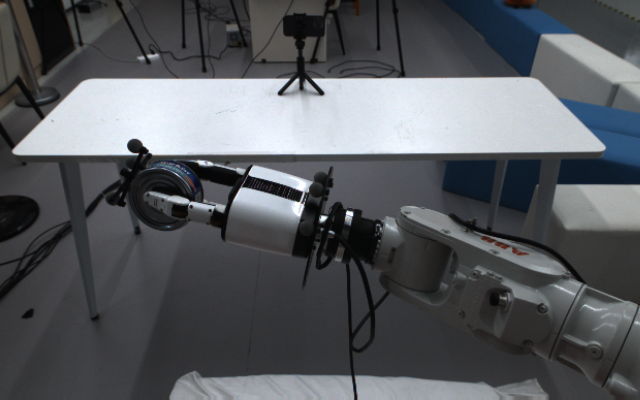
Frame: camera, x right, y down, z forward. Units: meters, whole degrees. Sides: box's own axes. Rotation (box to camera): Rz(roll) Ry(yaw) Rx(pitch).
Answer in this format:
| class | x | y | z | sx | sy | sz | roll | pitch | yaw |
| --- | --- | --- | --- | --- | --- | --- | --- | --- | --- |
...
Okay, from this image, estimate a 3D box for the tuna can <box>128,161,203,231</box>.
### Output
| class | x | y | z | sx | sy | sz | roll | pitch | yaw |
| --- | --- | --- | --- | --- | --- | --- | --- | --- | --- |
| tuna can | -0.190 | -0.005 | 0.606 | 0.085 | 0.085 | 0.034 | 4 | 22 | 2 |
